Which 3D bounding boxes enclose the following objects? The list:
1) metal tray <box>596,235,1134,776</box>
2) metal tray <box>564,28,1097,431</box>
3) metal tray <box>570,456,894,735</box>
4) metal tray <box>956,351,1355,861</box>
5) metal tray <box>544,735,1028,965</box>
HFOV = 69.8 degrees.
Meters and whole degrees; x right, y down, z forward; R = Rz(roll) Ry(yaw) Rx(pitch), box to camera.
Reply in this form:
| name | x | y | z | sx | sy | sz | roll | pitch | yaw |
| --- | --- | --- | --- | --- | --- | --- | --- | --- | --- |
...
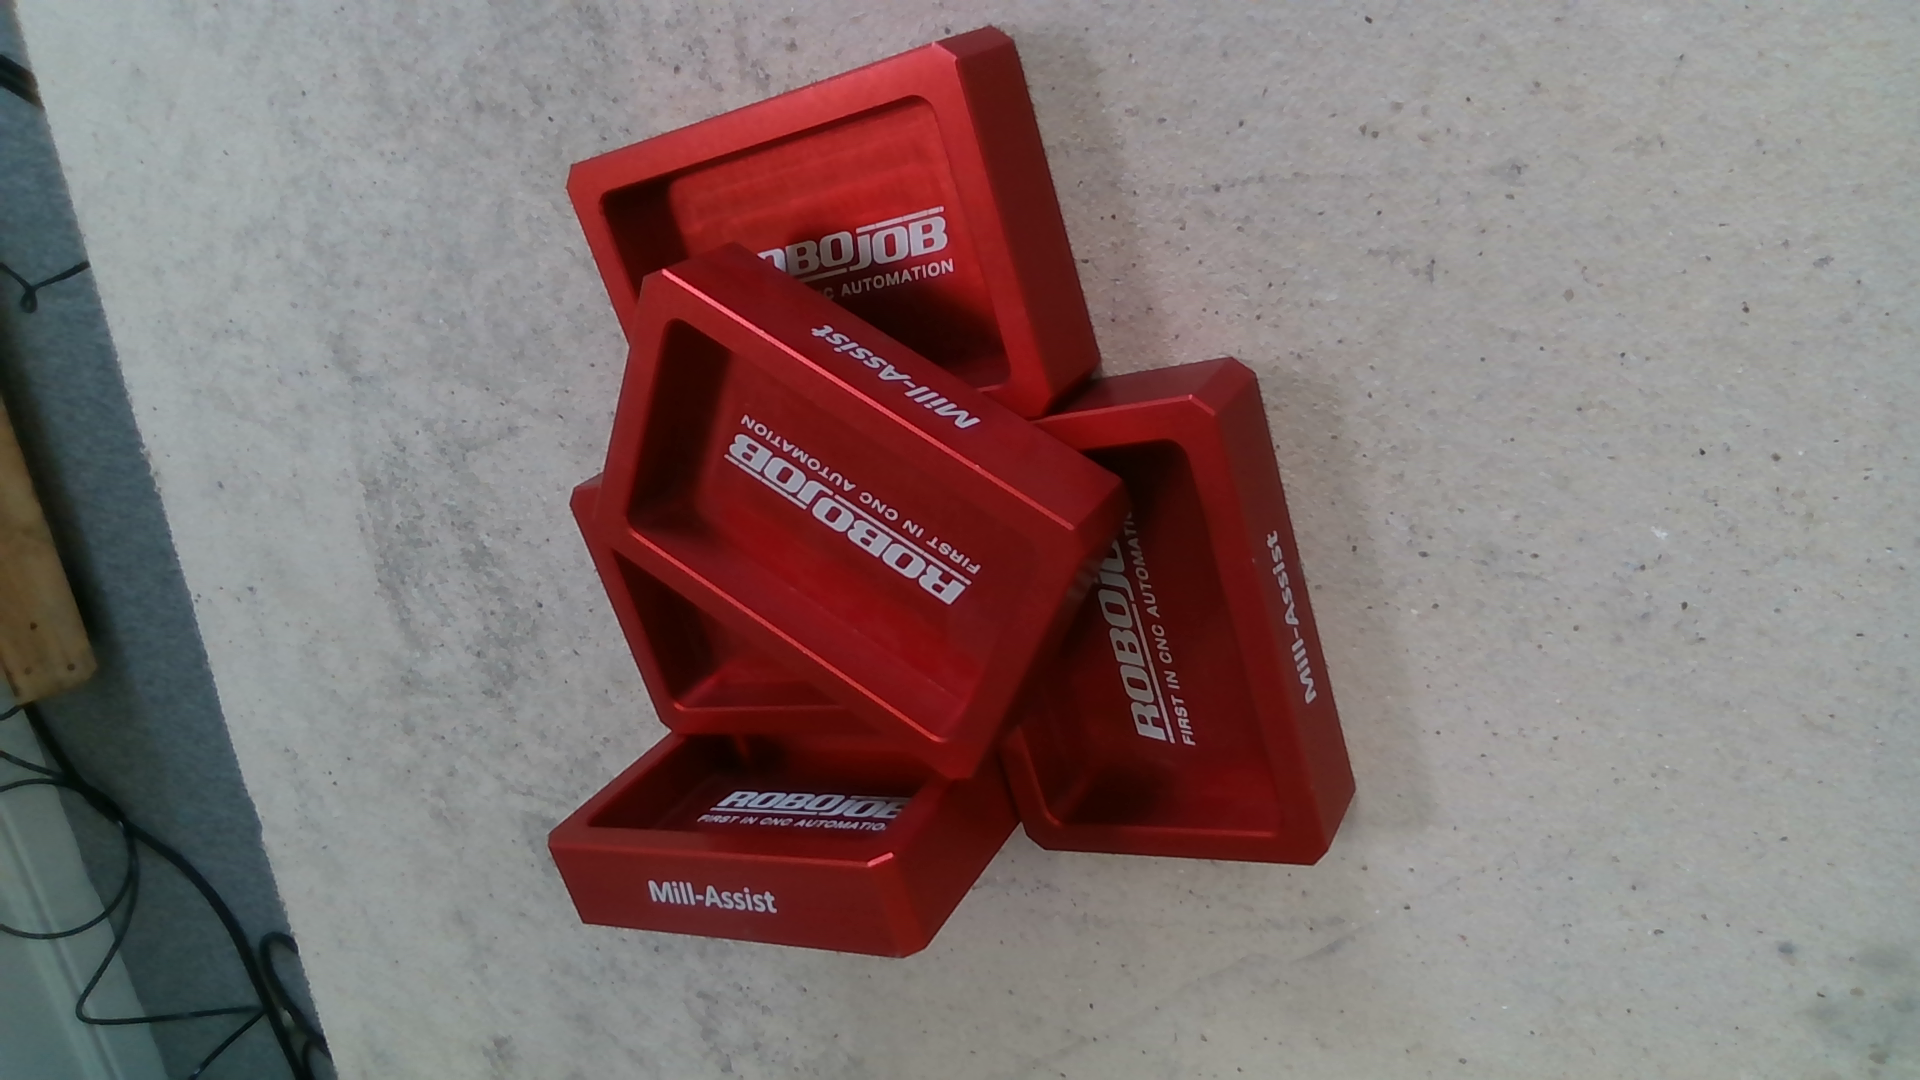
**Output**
| name | x | y | z | sx | sy | sz | roll | pitch | yaw |
| --- | --- | --- | --- | --- | --- | --- | --- | --- | --- |
| metal tray | -0.030 | -0.009 | 0.362 | 0.130 | 0.030 | 0.090 | 33 | 127 | 13 |
| metal tray | -0.037 | -0.072 | 0.368 | 0.130 | 0.030 | 0.090 | -5 | 112 | 33 |
| metal tray | -0.052 | 0.013 | 0.423 | 0.130 | 0.030 | 0.090 | -5 | 111 | 35 |
| metal tray | 0.047 | 0.021 | 0.370 | 0.090 | 0.030 | 0.130 | -5 | 112 | 33 |
| metal tray | -0.050 | 0.082 | 0.420 | 0.130 | 0.090 | 0.030 | -4 | 113 | 34 |
